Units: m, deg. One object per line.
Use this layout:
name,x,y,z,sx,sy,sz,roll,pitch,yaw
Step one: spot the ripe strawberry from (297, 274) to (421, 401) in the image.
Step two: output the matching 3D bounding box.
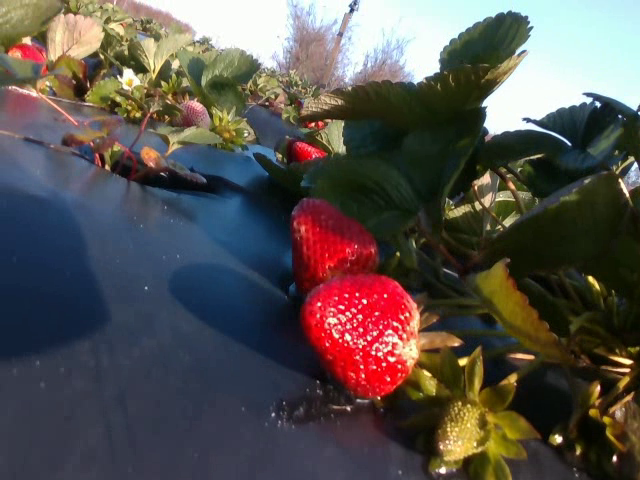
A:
ripe strawberry,0.013,0.027,0.190,0.039,0.043,0.053,-42,-38,19

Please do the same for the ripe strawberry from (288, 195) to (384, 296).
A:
ripe strawberry,0.005,0.005,0.256,0.048,0.054,0.039,-37,-3,-36
